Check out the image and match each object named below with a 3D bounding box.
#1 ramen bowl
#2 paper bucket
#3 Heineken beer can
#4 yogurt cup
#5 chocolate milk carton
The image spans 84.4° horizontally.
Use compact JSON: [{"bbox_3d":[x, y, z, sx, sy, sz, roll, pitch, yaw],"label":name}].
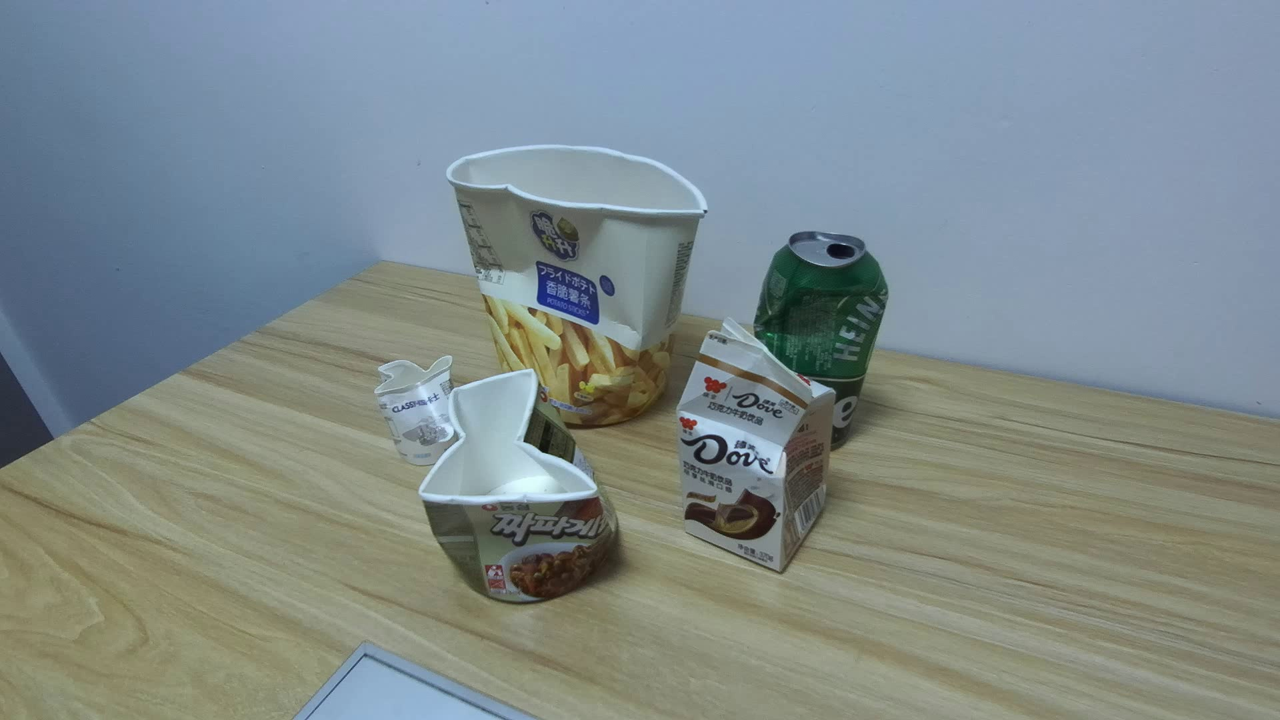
[{"bbox_3d":[-0.075,0.079,0.464,0.111,0.093,0.128,-4,34,-1],"label":"ramen bowl"},{"bbox_3d":[-0.049,-0.062,0.589,0.218,0.199,0.147,1,32,7],"label":"paper bucket"},{"bbox_3d":[0.128,-0.012,0.525,0.066,0.164,0.077,-25,40,-29],"label":"Heineken beer can"},{"bbox_3d":[-0.175,0.043,0.569,0.055,0.072,0.055,-13,18,-3],"label":"yogurt cup"},{"bbox_3d":[0.074,0.047,0.444,0.076,0.156,0.074,18,40,30],"label":"chocolate milk carton"}]
